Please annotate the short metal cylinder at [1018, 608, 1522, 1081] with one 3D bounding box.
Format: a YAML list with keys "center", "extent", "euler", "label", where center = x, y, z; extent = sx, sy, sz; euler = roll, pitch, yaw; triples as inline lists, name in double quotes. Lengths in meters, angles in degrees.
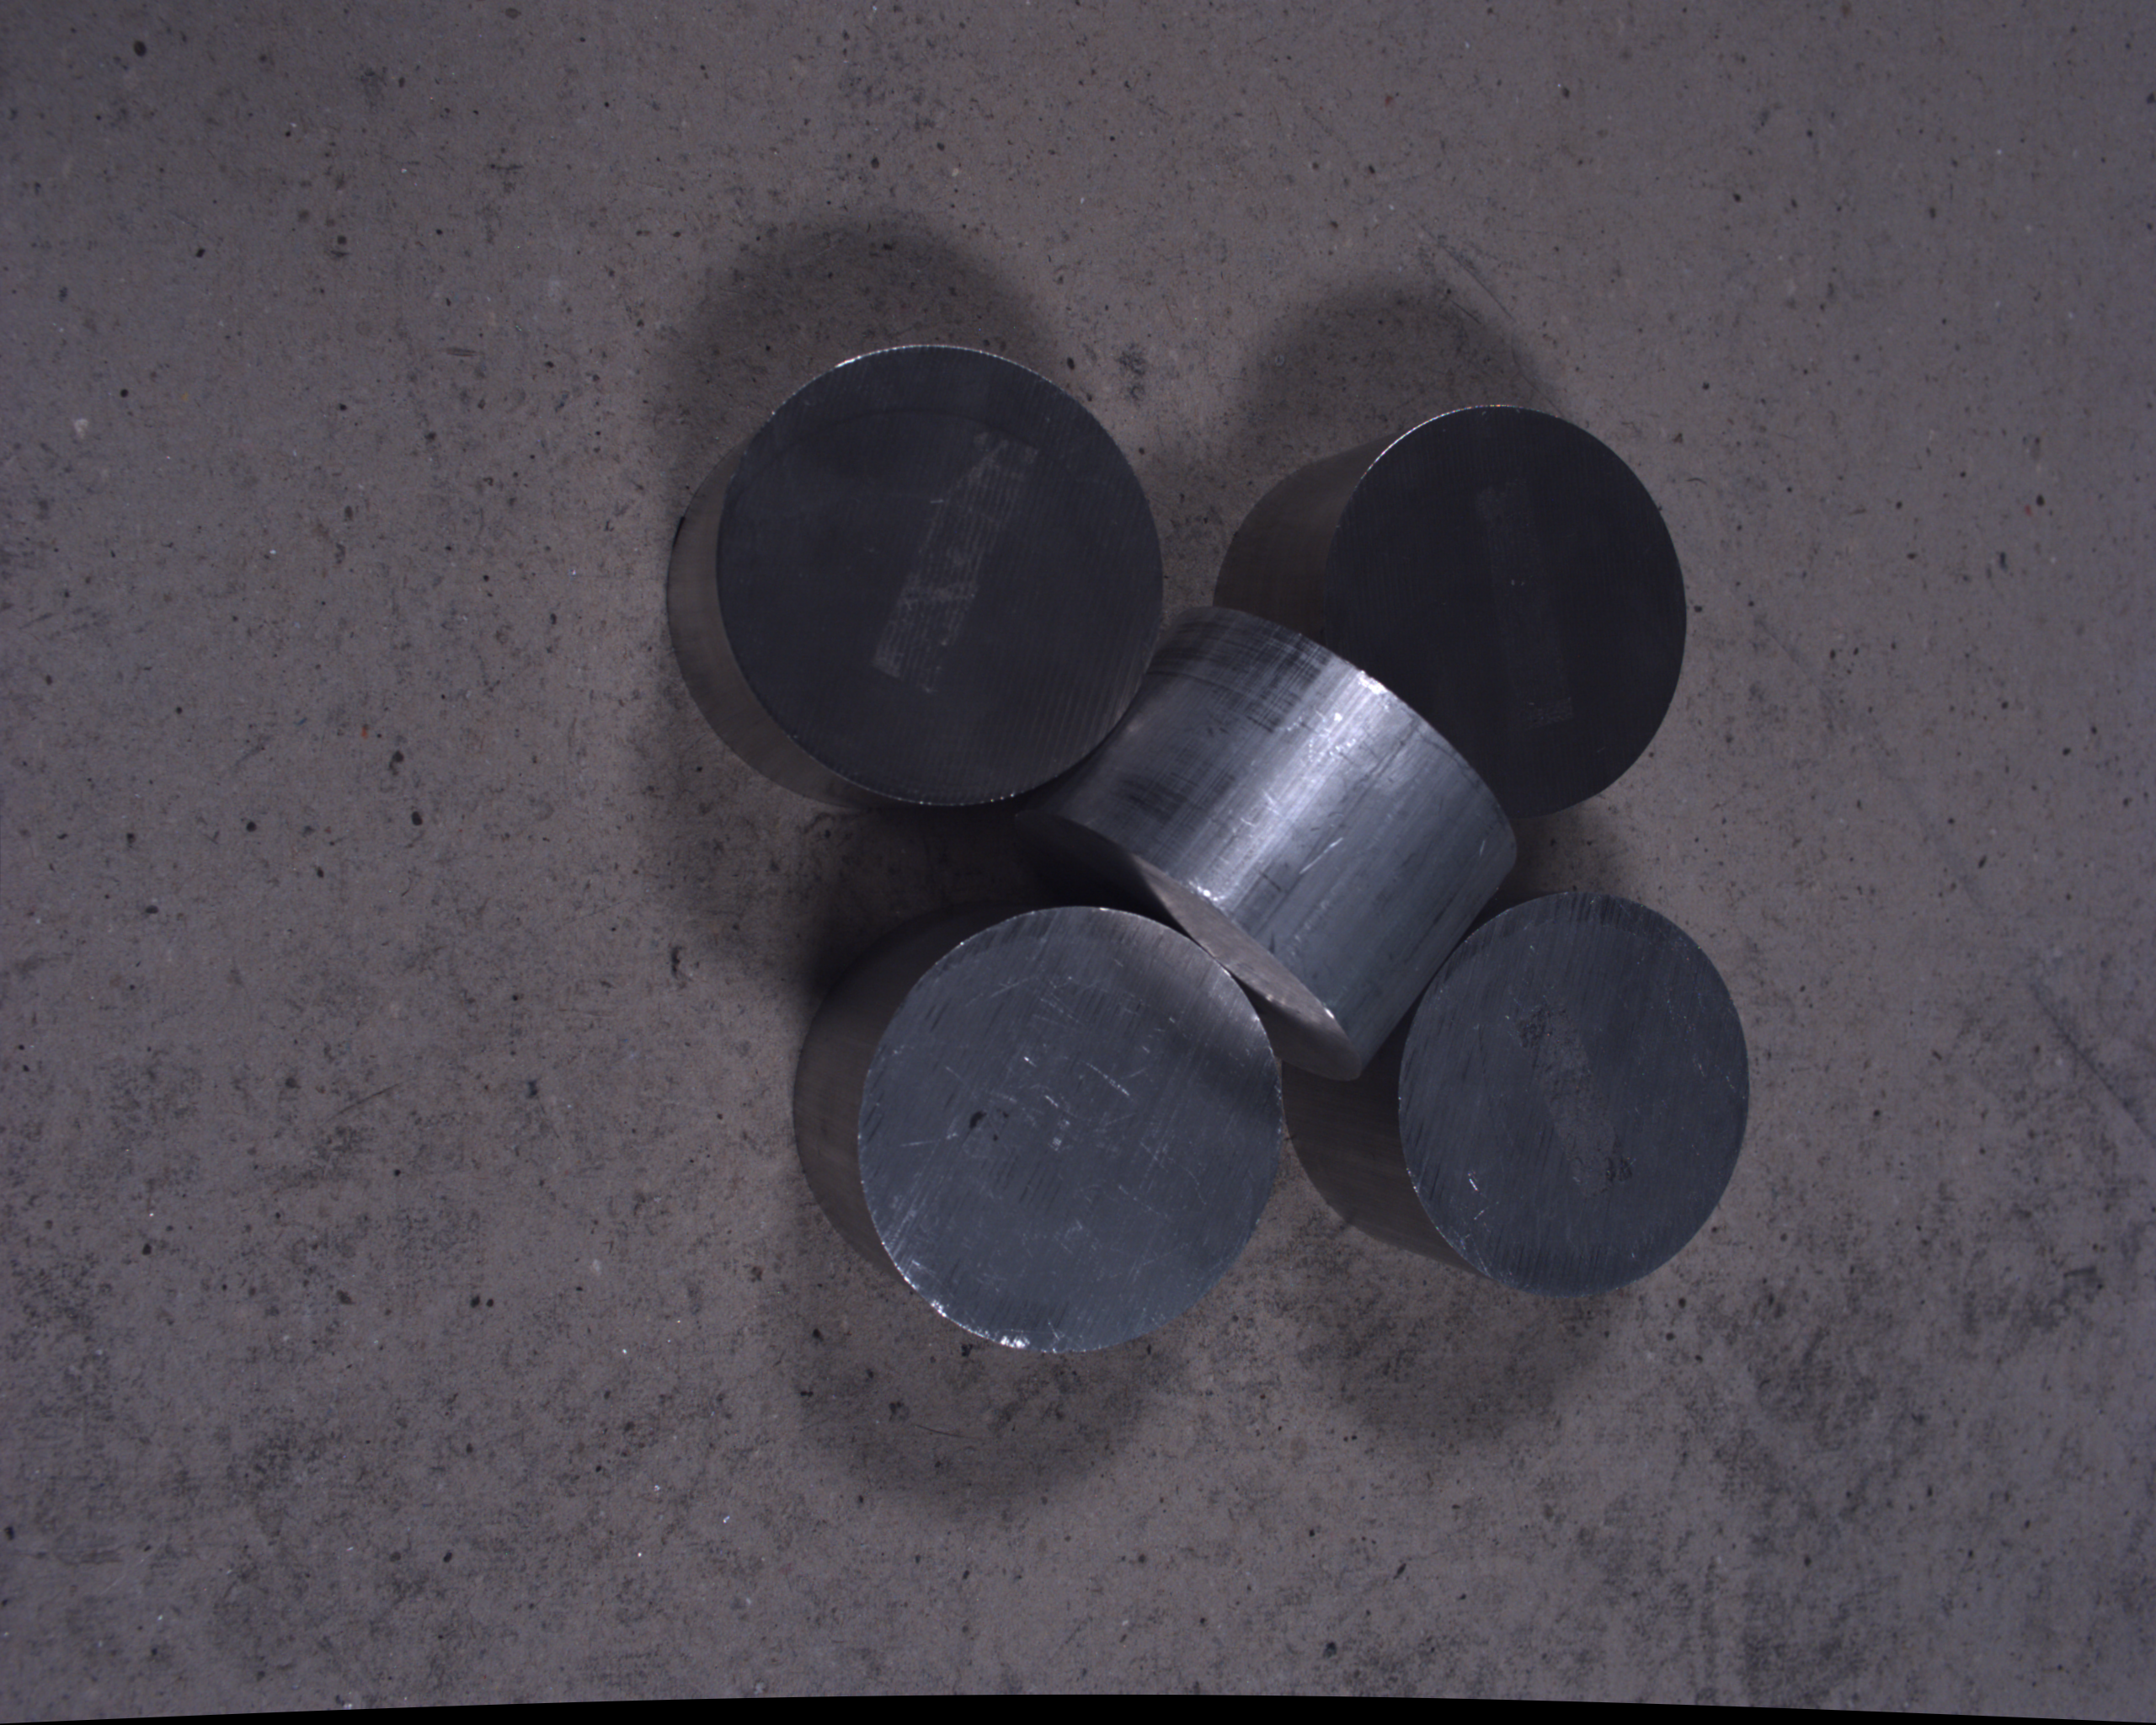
- center: [0.036, -0.003, 0.396]
  extent: [0.080, 0.080, 0.050]
  euler: [41, 77, -16]
  label: "short metal cylinder"

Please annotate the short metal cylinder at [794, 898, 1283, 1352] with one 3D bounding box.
- center: [-0.009, 0.047, 0.394]
  extent: [0.081, 0.050, 0.079]
  euler: [0, 90, -21]
  label: "short metal cylinder"

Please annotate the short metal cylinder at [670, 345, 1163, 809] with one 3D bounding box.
- center: [-0.031, -0.050, 0.385]
  extent: [0.081, 0.050, 0.079]
  euler: [0, 90, -21]
  label: "short metal cylinder"

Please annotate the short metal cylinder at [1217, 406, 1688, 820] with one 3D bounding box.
- center: [0.075, -0.048, 0.424]
  extent: [0.081, 0.050, 0.079]
  euler: [0, 90, -21]
  label: "short metal cylinder"

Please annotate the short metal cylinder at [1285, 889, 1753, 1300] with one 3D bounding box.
- center: [0.090, 0.045, 0.431]
  extent: [0.081, 0.050, 0.079]
  euler: [0, 90, -21]
  label: "short metal cylinder"
